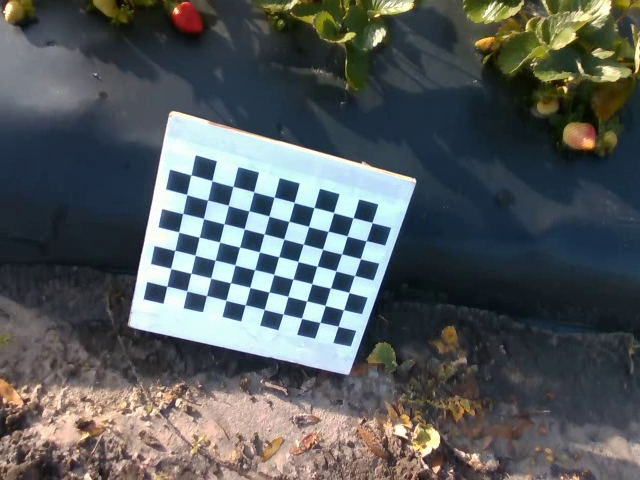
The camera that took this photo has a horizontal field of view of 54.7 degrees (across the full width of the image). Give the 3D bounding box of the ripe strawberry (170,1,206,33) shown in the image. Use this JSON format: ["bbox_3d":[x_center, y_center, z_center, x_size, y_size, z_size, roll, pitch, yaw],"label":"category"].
[{"bbox_3d":[-0.133,-0.236,0.666,0.030,0.044,0.033,-44,-16,13],"label":"ripe strawberry"}]
